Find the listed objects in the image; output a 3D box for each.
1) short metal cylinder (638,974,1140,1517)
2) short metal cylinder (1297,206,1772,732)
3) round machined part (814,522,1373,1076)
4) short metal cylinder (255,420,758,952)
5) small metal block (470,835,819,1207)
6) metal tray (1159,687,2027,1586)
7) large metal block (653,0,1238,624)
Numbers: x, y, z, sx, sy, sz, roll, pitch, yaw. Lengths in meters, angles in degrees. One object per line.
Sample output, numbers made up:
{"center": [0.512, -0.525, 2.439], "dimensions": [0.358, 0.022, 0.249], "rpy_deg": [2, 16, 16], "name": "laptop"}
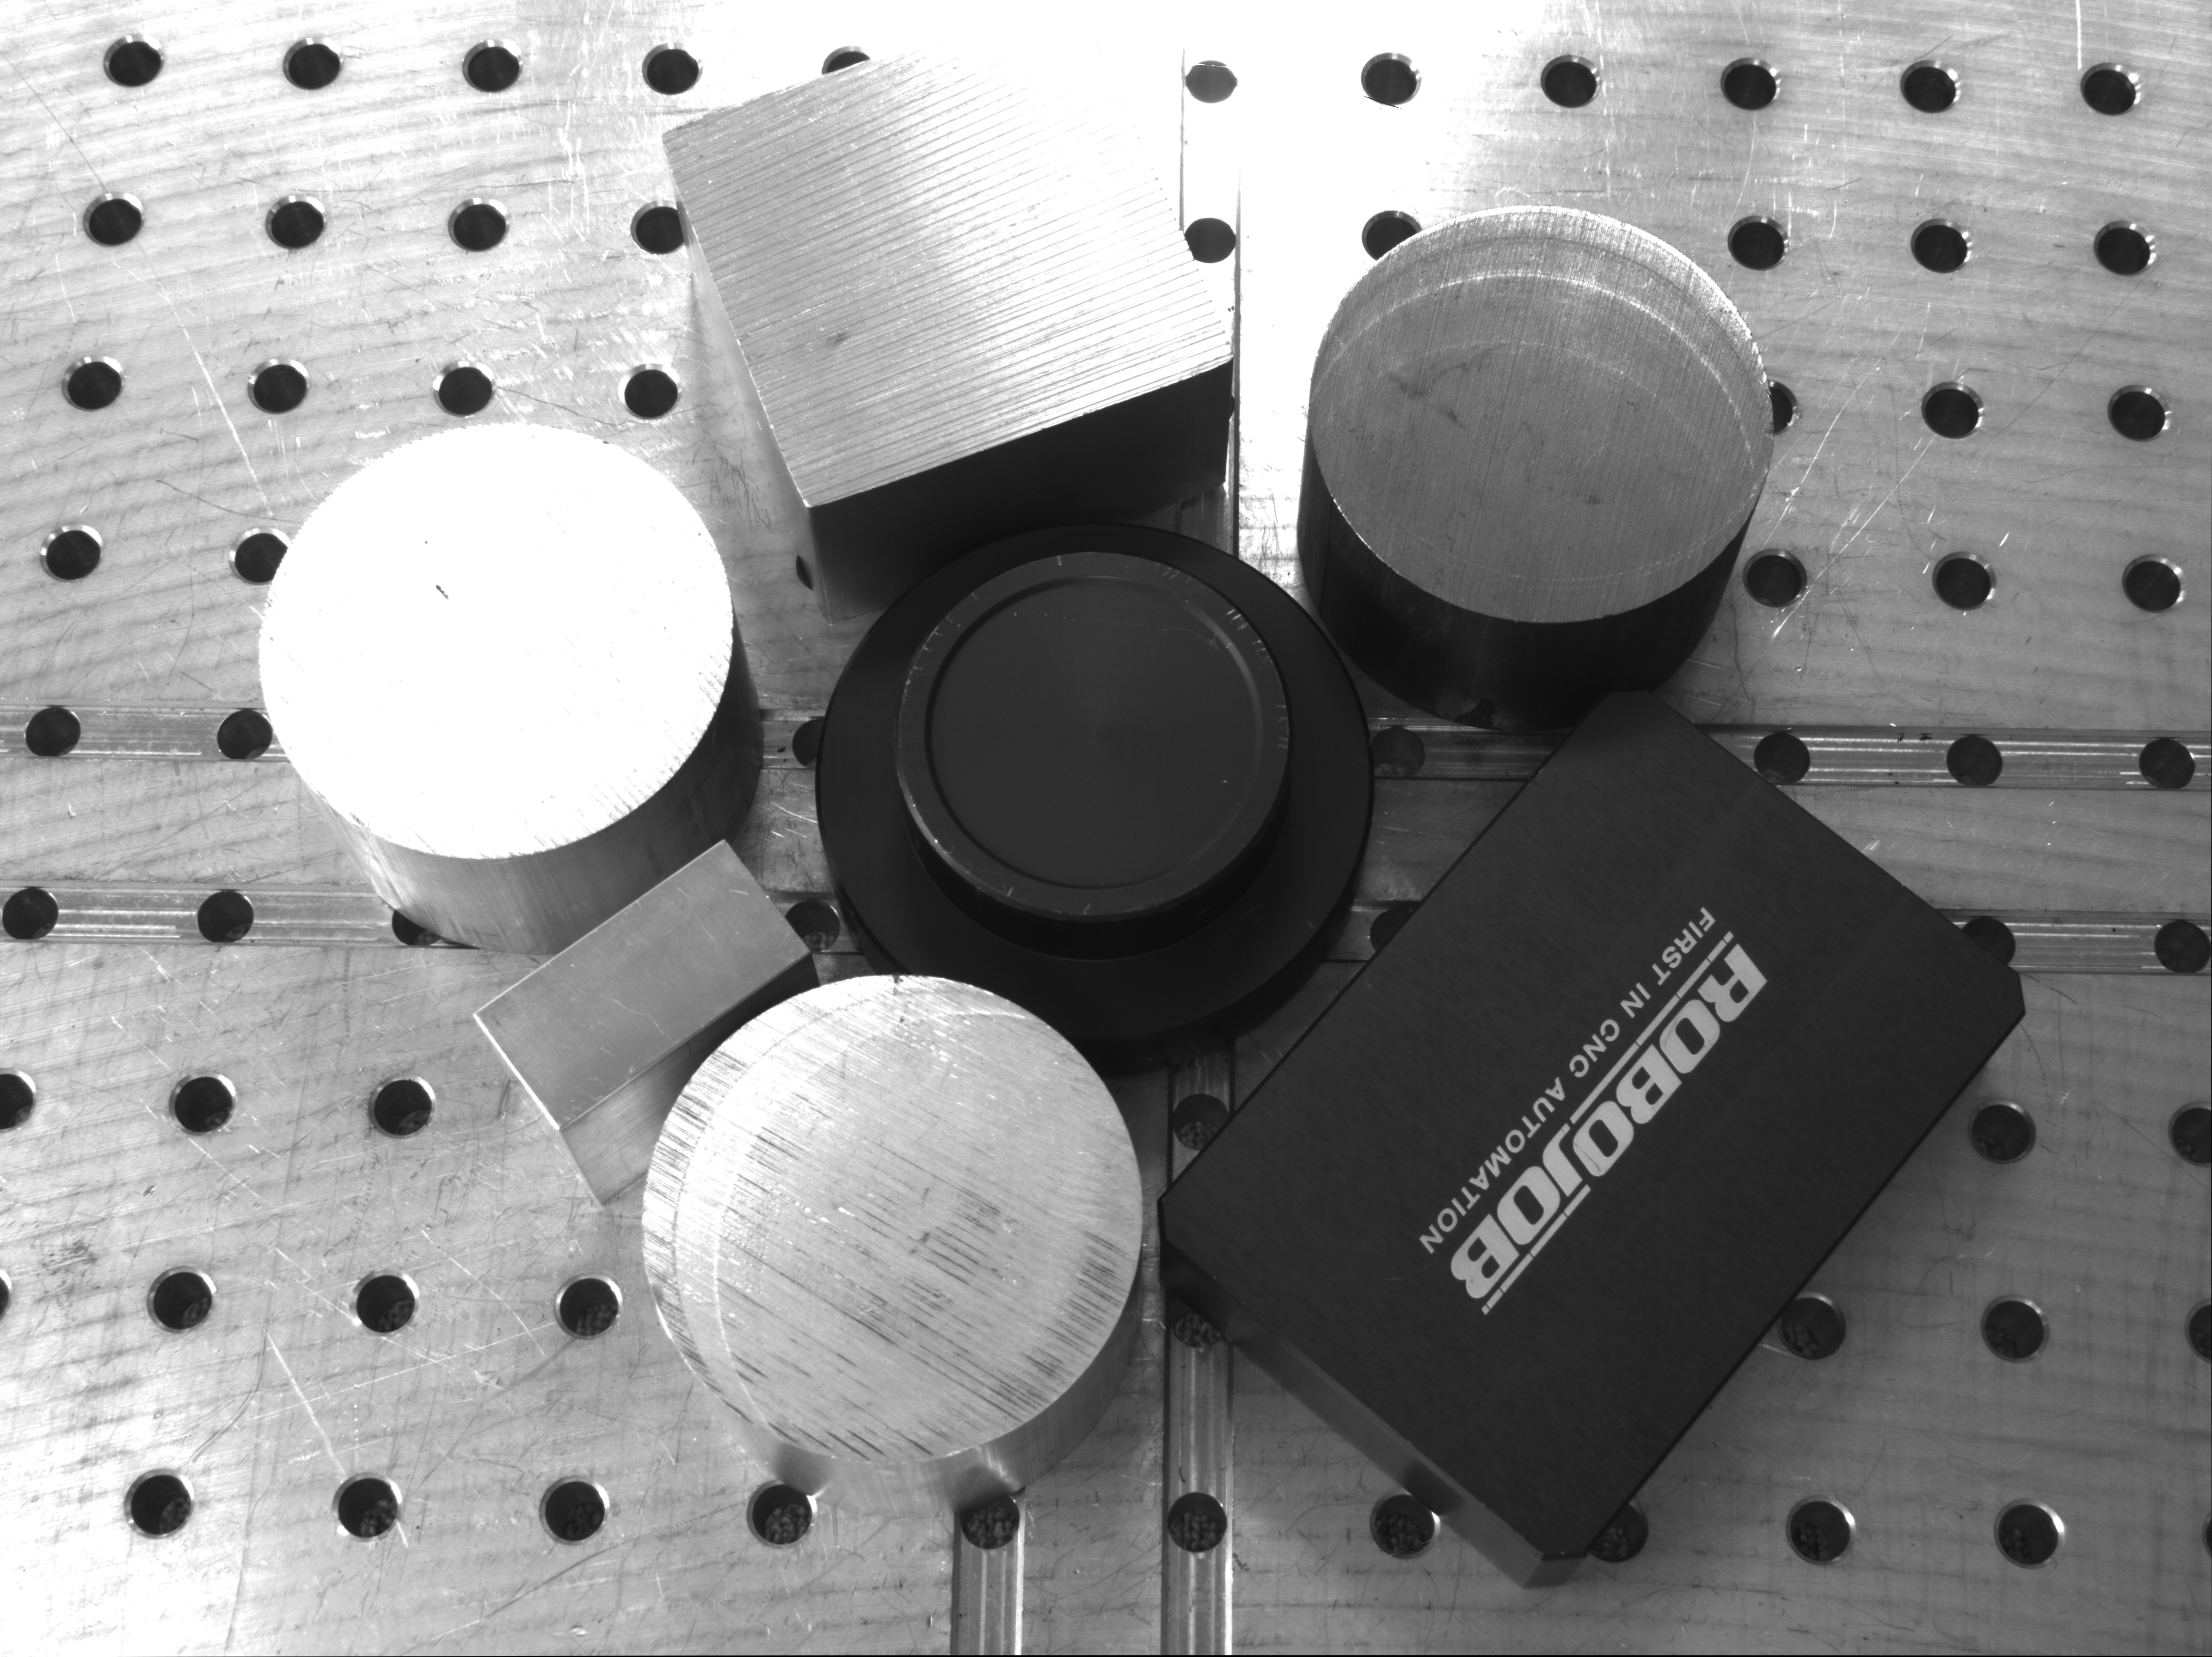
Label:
{"center": [-0.034, 0.070, 0.608], "dimensions": [0.080, 0.050, 0.080], "rpy_deg": [0, 70, 0], "name": "short metal cylinder"}
{"center": [0.075, -0.064, 0.657], "dimensions": [0.080, 0.050, 0.080], "rpy_deg": [0, 70, 0], "name": "short metal cylinder"}
{"center": [-0.002, -0.009, 0.641], "dimensions": [0.098, 0.042, 0.098], "rpy_deg": [0, 70, 0], "name": "round machined part"}
{"center": [-0.103, -0.024, 0.642], "dimensions": [0.080, 0.050, 0.080], "rpy_deg": [0, 70, 0], "name": "short metal cylinder"}
{"center": [-0.076, 0.033, 0.621], "dimensions": [0.050, 0.050, 0.025], "rpy_deg": [-36, 73, -12], "name": "small metal block"}
{"center": [0.082, 0.051, 0.625], "dimensions": [0.090, 0.030, 0.130], "rpy_deg": [39, 74, 13], "name": "metal tray"}
{"center": [-0.029, -0.095, 0.669], "dimensions": [0.080, 0.050, 0.080], "rpy_deg": [-20, 71, -7], "name": "large metal block"}
